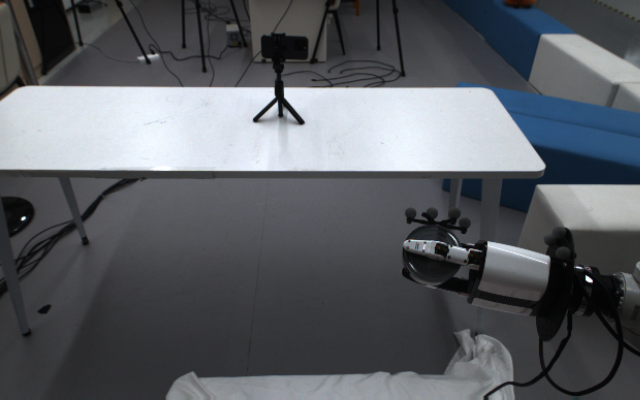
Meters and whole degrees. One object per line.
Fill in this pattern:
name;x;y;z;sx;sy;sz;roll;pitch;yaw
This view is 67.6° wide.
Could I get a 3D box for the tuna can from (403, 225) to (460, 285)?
tuna can;0.164;0.077;0.707;0.085;0.034;0.085;-2;70;7
